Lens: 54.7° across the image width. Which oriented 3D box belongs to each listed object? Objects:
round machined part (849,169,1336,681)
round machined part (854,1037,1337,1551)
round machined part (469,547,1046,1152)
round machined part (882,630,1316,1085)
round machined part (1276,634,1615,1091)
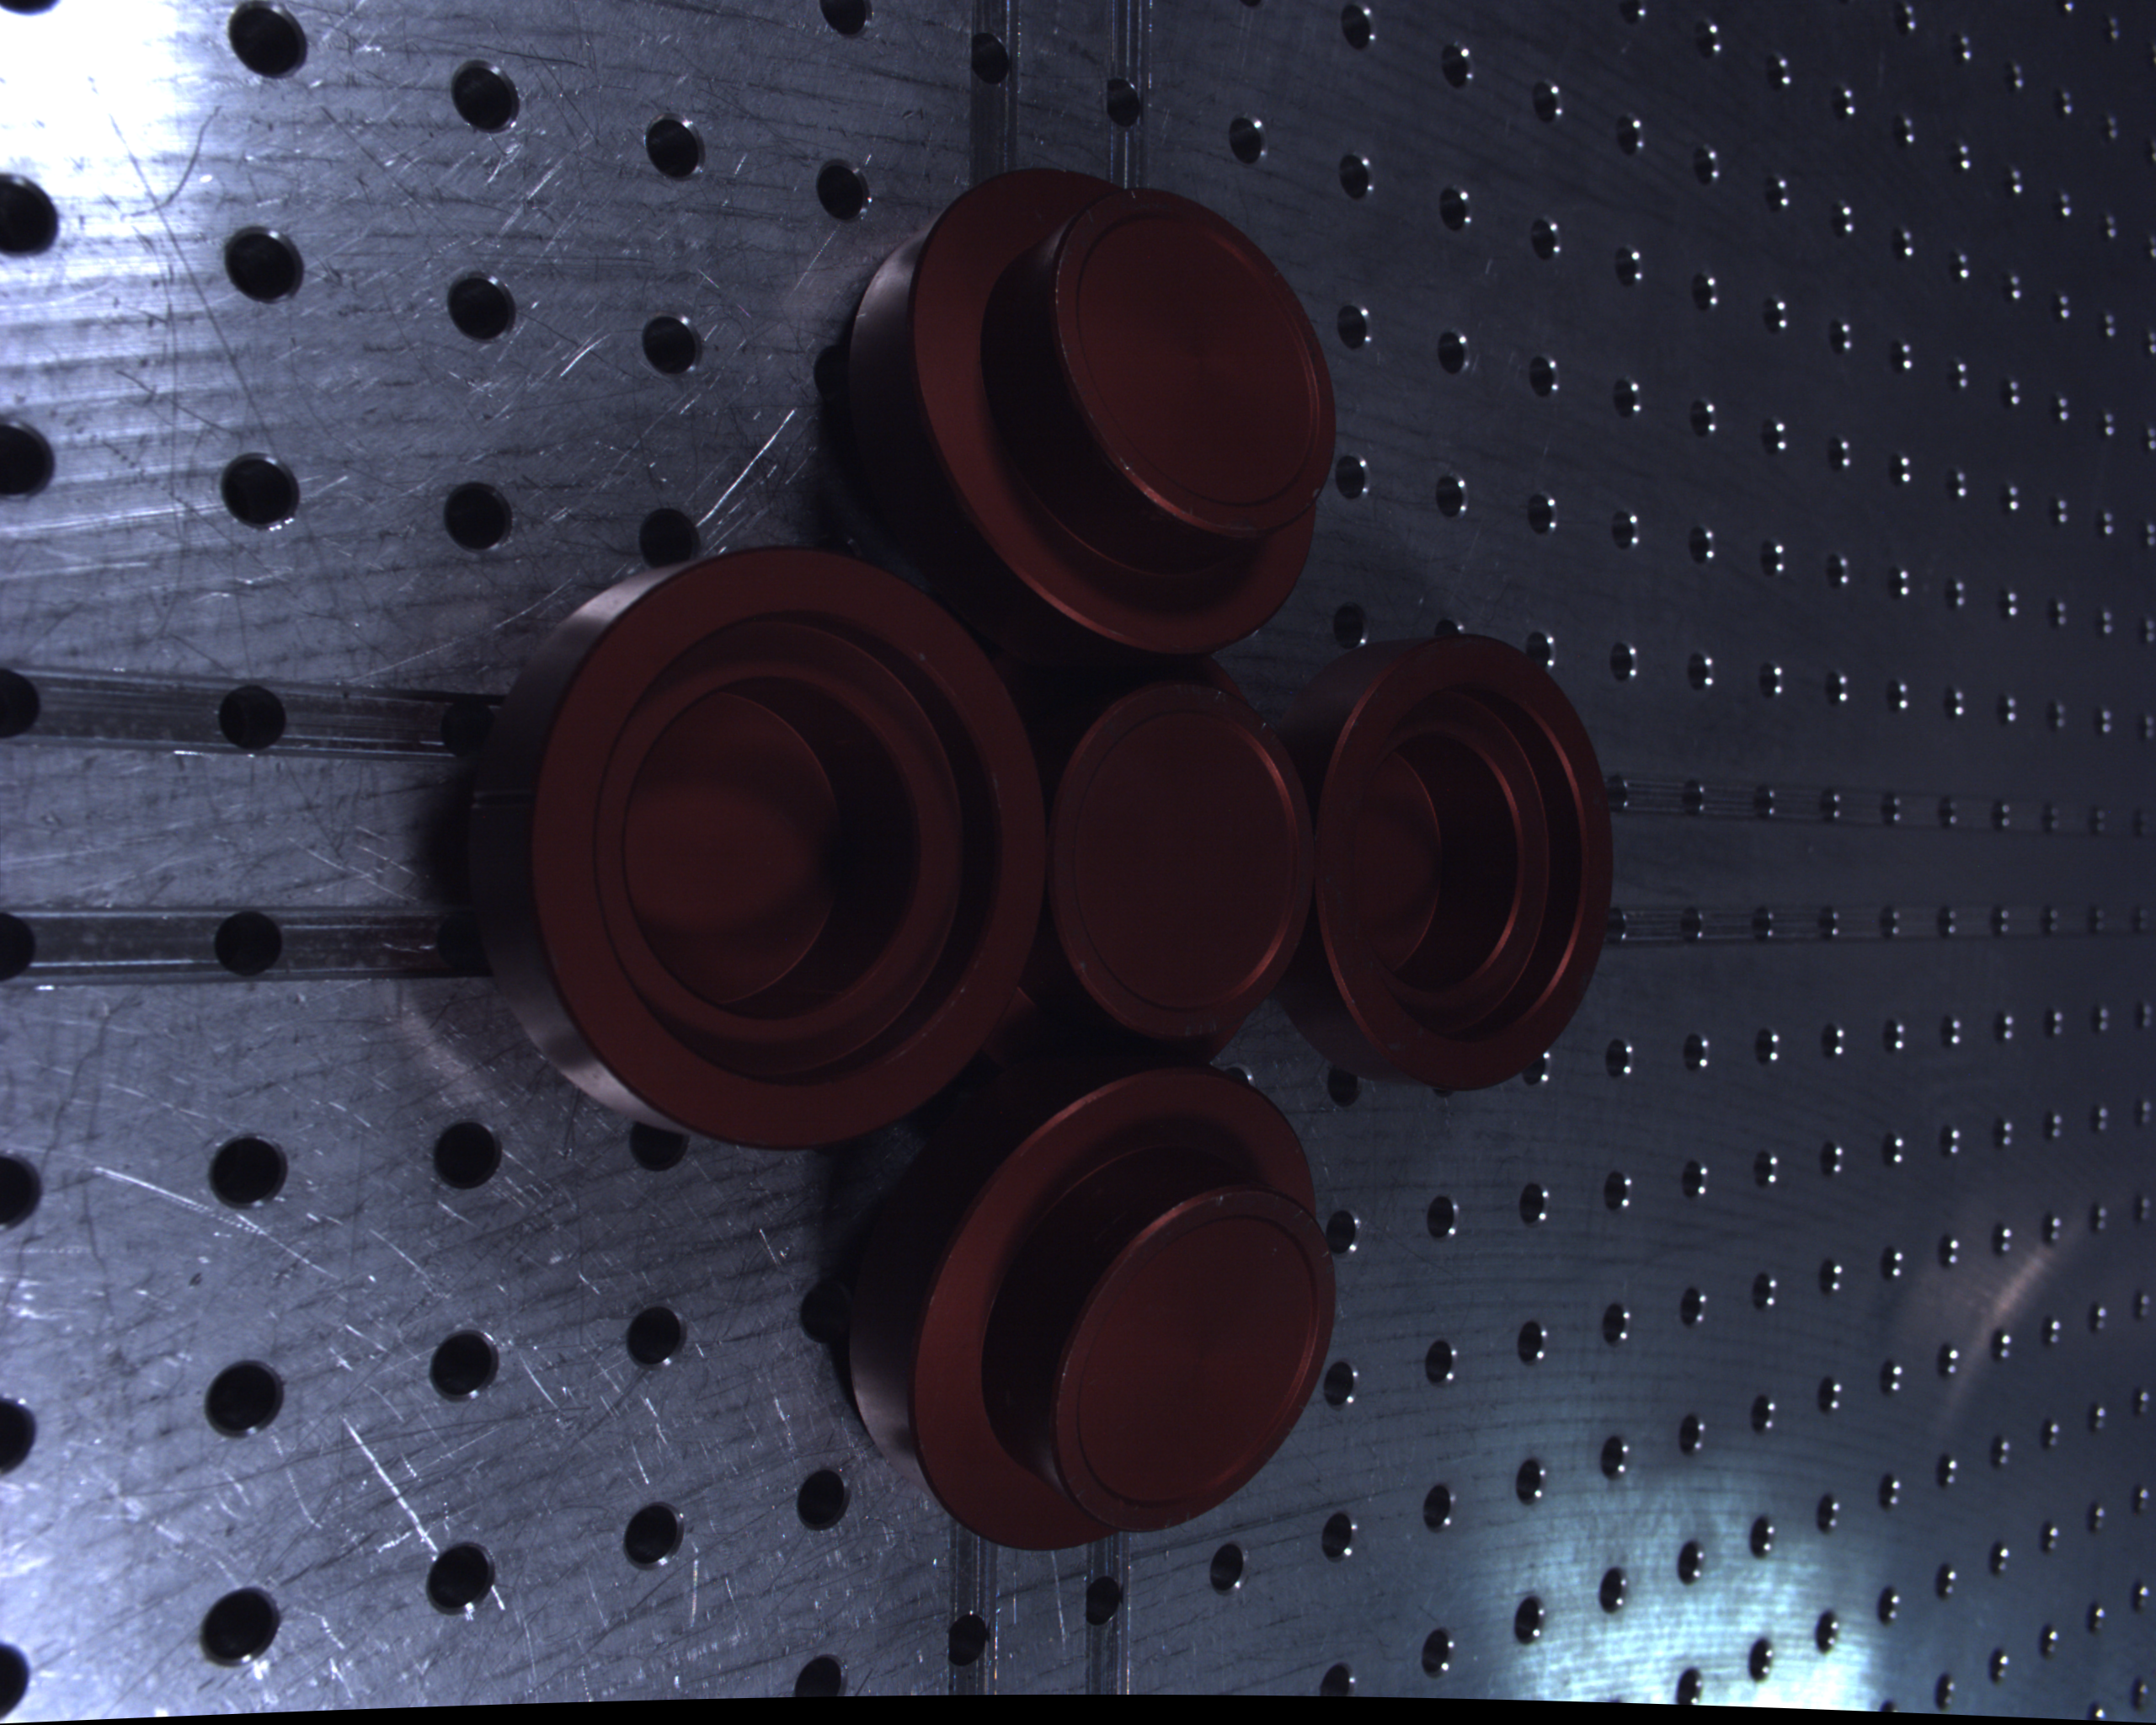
[{"bbox_3d":[0.010,-0.086,0.393,0.099,0.042,0.098,13,68,-35],"label":"round machined part"},{"bbox_3d":[0.010,0.086,0.394,0.099,0.042,0.097,-15,114,-36],"label":"round machined part"},{"bbox_3d":[-0.056,-0.002,0.352,0.099,0.042,0.097,0,90,-40],"label":"round machined part"},{"bbox_3d":[0.008,-0.001,0.405,0.099,0.042,0.097,0,90,-40],"label":"round machined part"},{"bbox_3d":[0.072,0.000,0.460,0.099,0.042,0.097,0,90,-40],"label":"round machined part"}]
